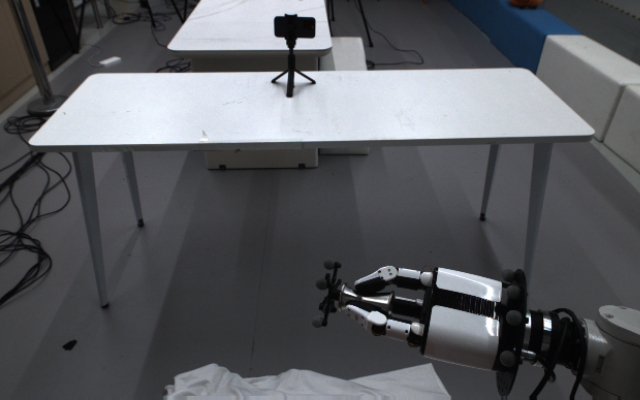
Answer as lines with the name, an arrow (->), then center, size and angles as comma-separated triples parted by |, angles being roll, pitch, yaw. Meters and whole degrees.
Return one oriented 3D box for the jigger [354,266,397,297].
jigger -> 0.069, 0.135, 0.655 | 0.071, 0.043, 0.043 | 9, 35, 17
